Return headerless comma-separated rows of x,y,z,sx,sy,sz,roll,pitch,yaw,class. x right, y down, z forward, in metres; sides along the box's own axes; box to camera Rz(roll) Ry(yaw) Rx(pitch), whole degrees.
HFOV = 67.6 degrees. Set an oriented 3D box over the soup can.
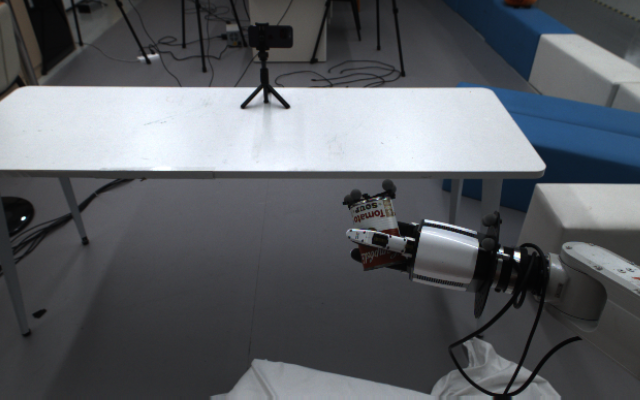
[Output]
0.089,0.052,0.740,0.067,0.067,0.101,-10,80,-16,soup can
